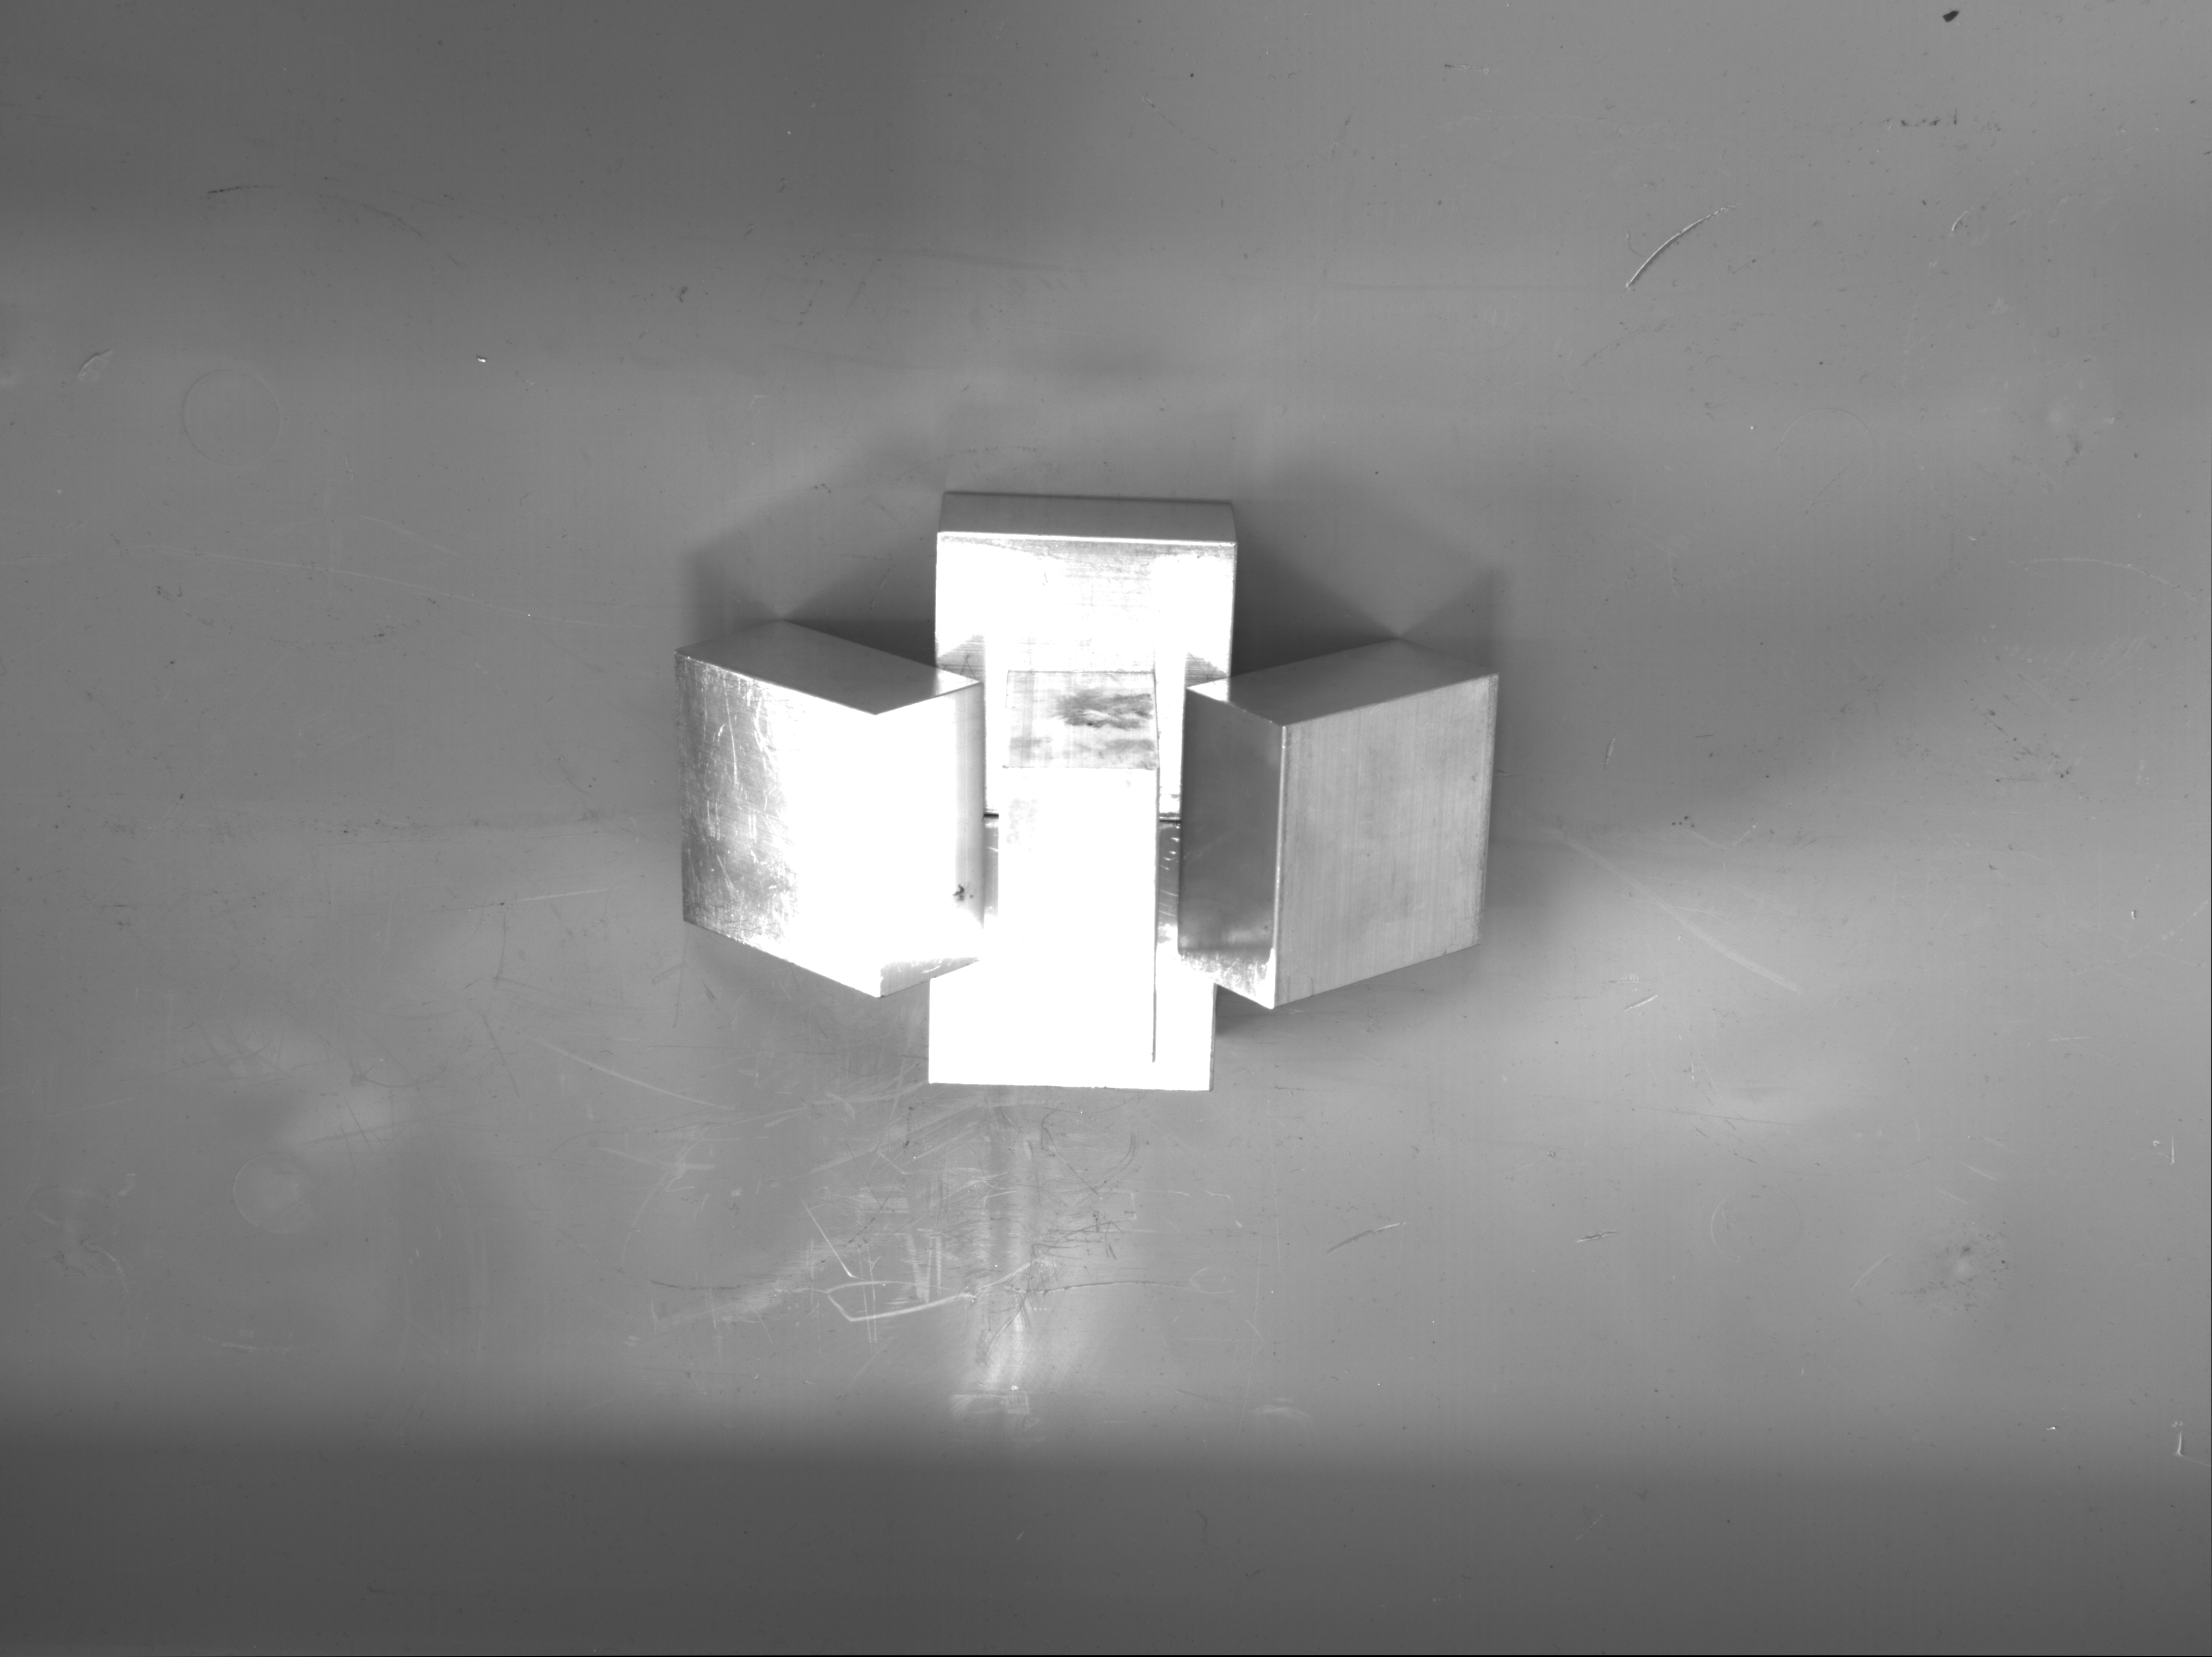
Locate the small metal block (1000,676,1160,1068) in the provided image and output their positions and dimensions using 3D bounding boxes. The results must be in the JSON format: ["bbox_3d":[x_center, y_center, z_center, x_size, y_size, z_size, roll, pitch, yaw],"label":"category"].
[{"bbox_3d":[-0.004,0.006,0.604,0.025,0.050,0.050,0,110,-1],"label":"small metal block"}]

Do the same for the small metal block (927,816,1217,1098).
[{"bbox_3d":[-0.005,0.019,0.648,0.050,0.025,0.050,2,110,-1],"label":"small metal block"}]

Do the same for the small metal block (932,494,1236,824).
[{"bbox_3d":[-0.004,-0.029,0.631,0.050,0.025,0.050,2,110,-2],"label":"small metal block"}]

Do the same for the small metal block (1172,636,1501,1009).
[{"bbox_3d":[0.039,-0.002,0.629,0.050,0.025,0.050,-14,116,-37],"label":"small metal block"}]

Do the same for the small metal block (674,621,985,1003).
[{"bbox_3d":[-0.047,-0.004,0.626,0.050,0.025,0.050,19,117,40],"label":"small metal block"}]
